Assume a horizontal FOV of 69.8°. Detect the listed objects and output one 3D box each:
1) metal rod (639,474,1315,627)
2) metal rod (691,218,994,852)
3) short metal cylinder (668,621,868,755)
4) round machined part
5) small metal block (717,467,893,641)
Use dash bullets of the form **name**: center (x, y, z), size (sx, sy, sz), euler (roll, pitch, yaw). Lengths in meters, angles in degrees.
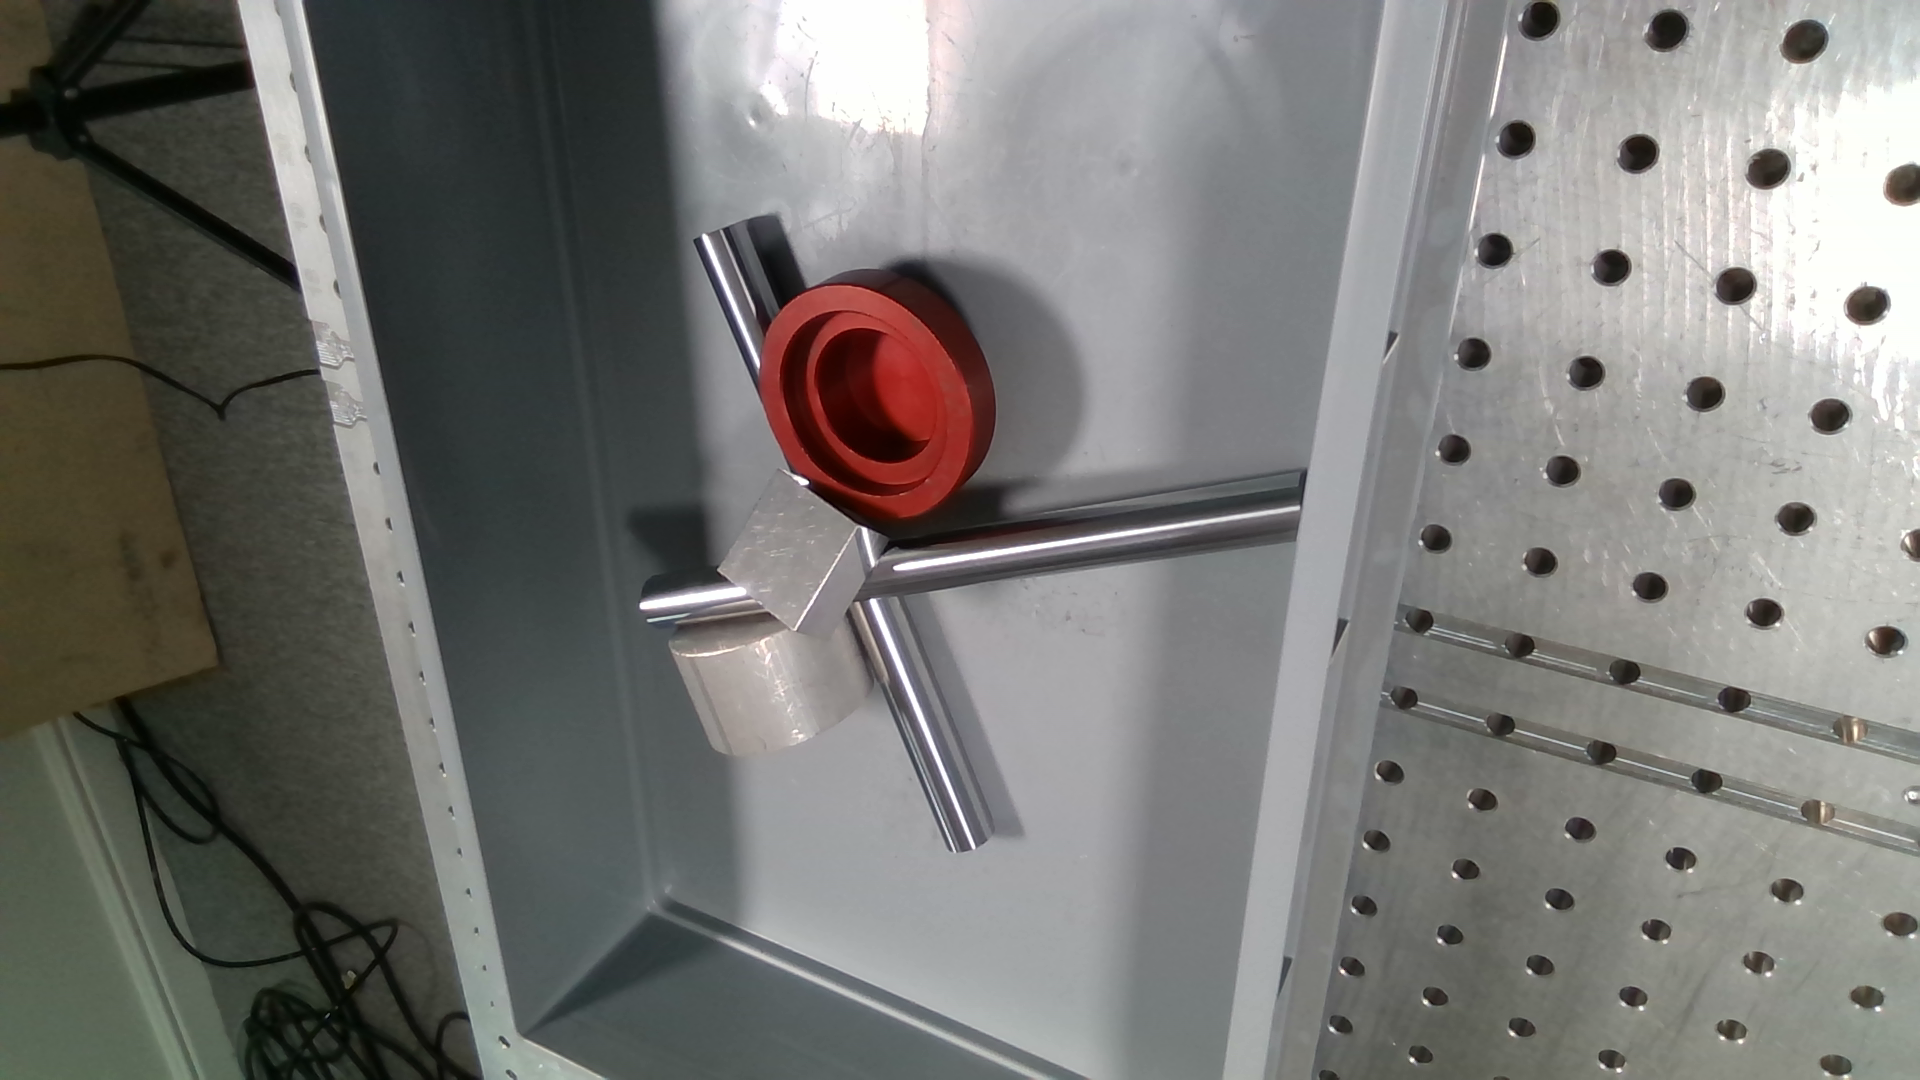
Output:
- **metal rod**: center (-0.007, 0.008, 0.564), size (0.300, 0.025, 0.025), euler (-9, 110, 27)
- **metal rod**: center (-0.048, 0.006, 0.611), size (0.025, 0.025, 0.300), euler (-9, 110, 35)
- **short metal cylinder**: center (-0.085, 0.055, 0.625), size (0.080, 0.080, 0.050), euler (-6, 112, 34)
- **round machined part**: center (-0.028, -0.062, 0.551), size (0.098, 0.042, 0.098), euler (14, 122, 25)
- **small metal block**: center (-0.064, 0.006, 0.568), size (0.050, 0.025, 0.050), euler (35, 96, 31)
